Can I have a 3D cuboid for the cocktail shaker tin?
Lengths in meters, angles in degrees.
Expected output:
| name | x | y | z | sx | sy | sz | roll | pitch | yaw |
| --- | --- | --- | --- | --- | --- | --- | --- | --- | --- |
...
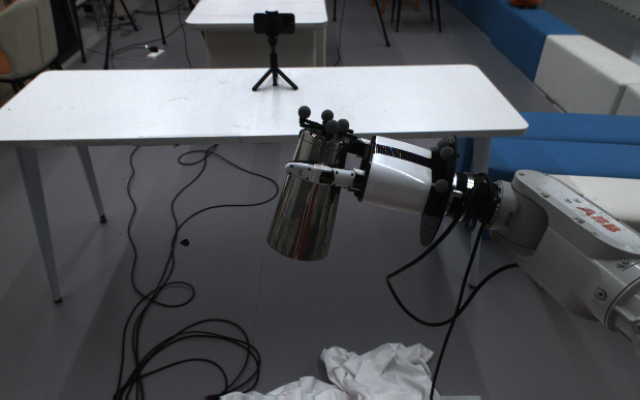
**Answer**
| name | x | y | z | sx | sy | sz | roll | pitch | yaw |
| --- | --- | --- | --- | --- | --- | --- | --- | --- | --- |
| cocktail shaker tin | -0.011 | -0.013 | 0.683 | 0.093 | 0.170 | 0.093 | 14 | 18 | -5 |
